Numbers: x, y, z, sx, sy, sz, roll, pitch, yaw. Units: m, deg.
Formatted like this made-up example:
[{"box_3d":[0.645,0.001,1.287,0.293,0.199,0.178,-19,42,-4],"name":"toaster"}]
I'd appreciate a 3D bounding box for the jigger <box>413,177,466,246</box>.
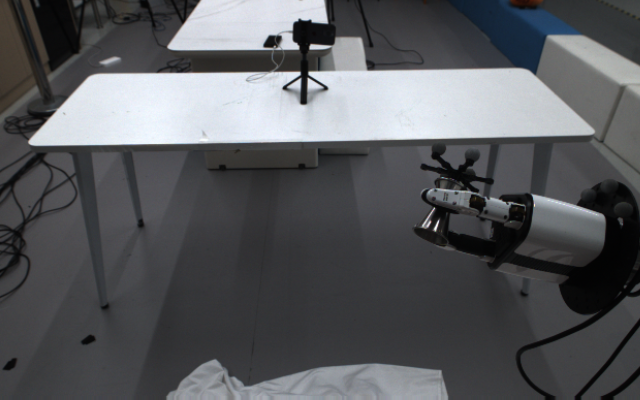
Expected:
[{"box_3d":[0.141,0.010,0.564,0.043,0.043,0.071,19,72,23],"name":"jigger"}]
